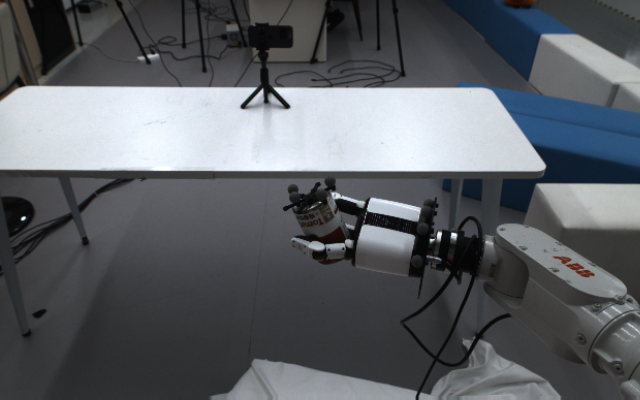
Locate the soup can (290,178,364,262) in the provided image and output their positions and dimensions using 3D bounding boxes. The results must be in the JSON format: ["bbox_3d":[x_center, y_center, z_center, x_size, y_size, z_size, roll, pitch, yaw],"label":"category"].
[{"bbox_3d":[0.007,0.042,0.769,0.067,0.101,0.067,-21,24,10],"label":"soup can"}]
